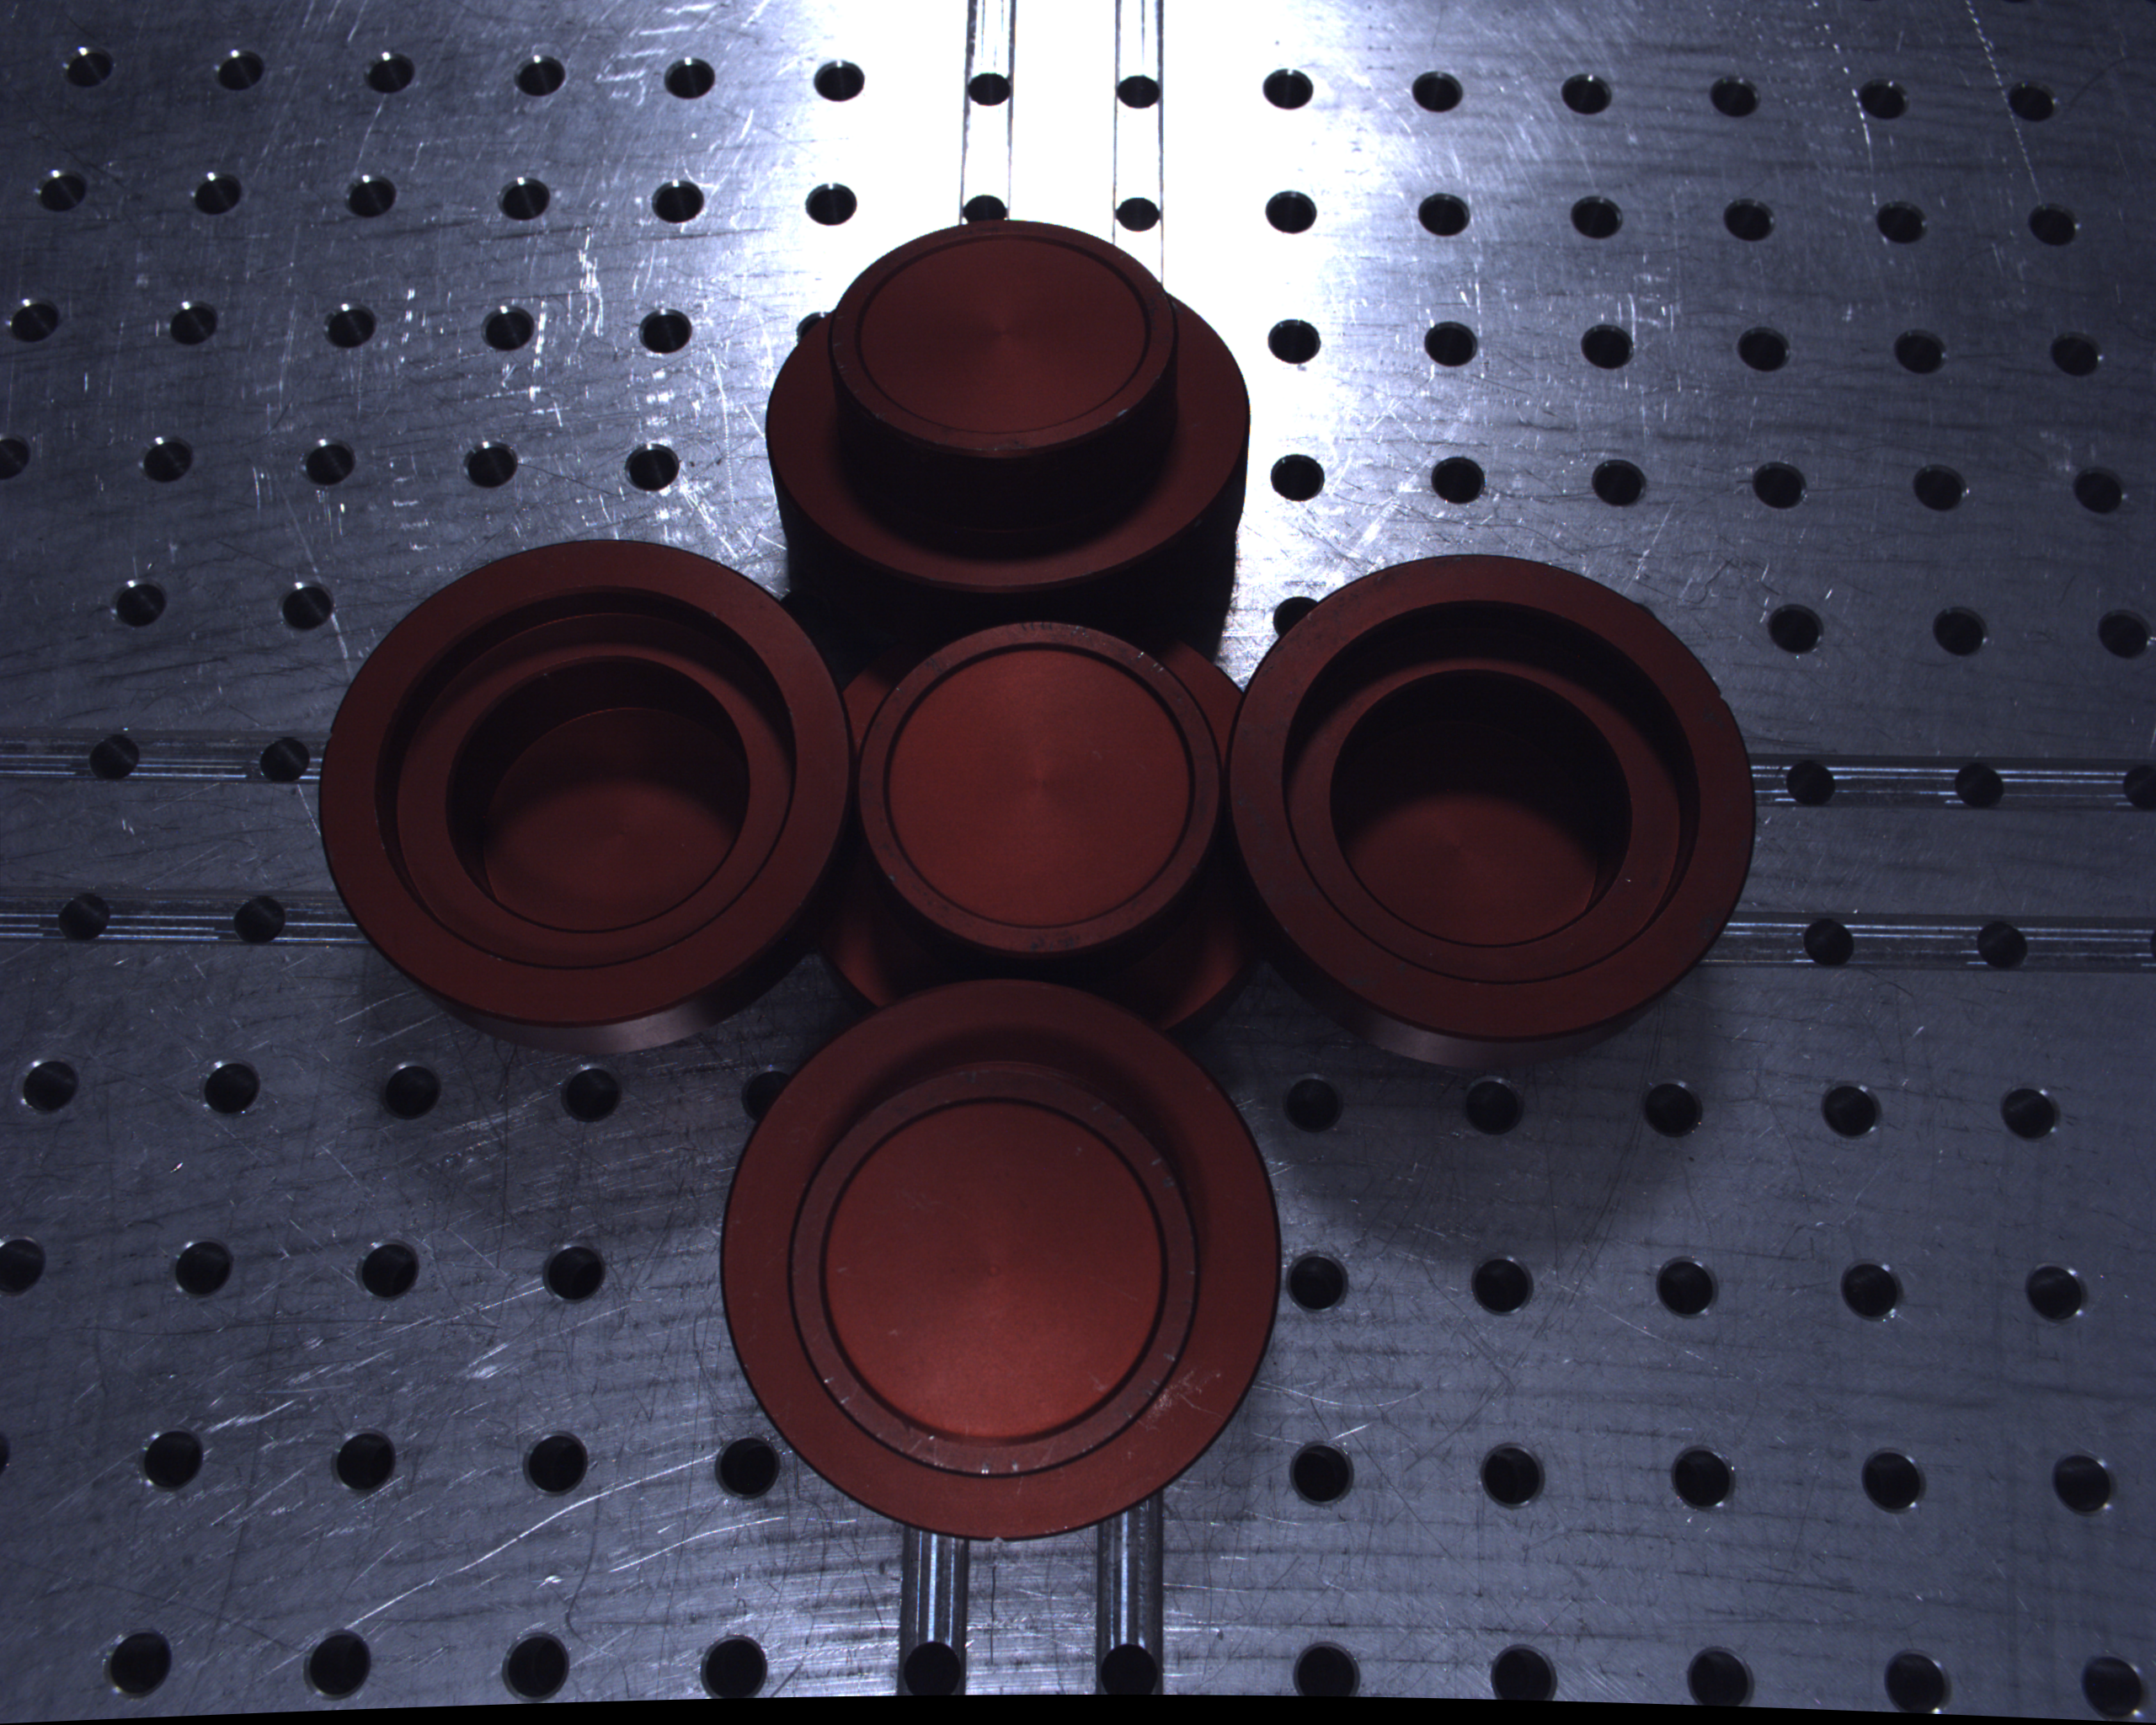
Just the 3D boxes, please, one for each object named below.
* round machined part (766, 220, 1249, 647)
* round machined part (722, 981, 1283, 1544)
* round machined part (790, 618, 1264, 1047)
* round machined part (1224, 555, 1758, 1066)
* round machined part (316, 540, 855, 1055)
[{"bbox_3d":[-0.014,-0.092,0.424,0.099,0.042,0.098,-1,56,1],"label":"round machined part"},{"bbox_3d":[-0.013,0.069,0.365,0.099,0.042,0.097,0,85,0],"label":"round machined part"},{"bbox_3d":[-0.008,-0.008,0.404,0.099,0.042,0.098,0,70,-1],"label":"round machined part"},{"bbox_3d":[0.077,-0.007,0.406,0.099,0.042,0.098,0,70,-1],"label":"round machined part"},{"bbox_3d":[-0.091,-0.010,0.405,0.099,0.042,0.098,0,70,-1],"label":"round machined part"}]
